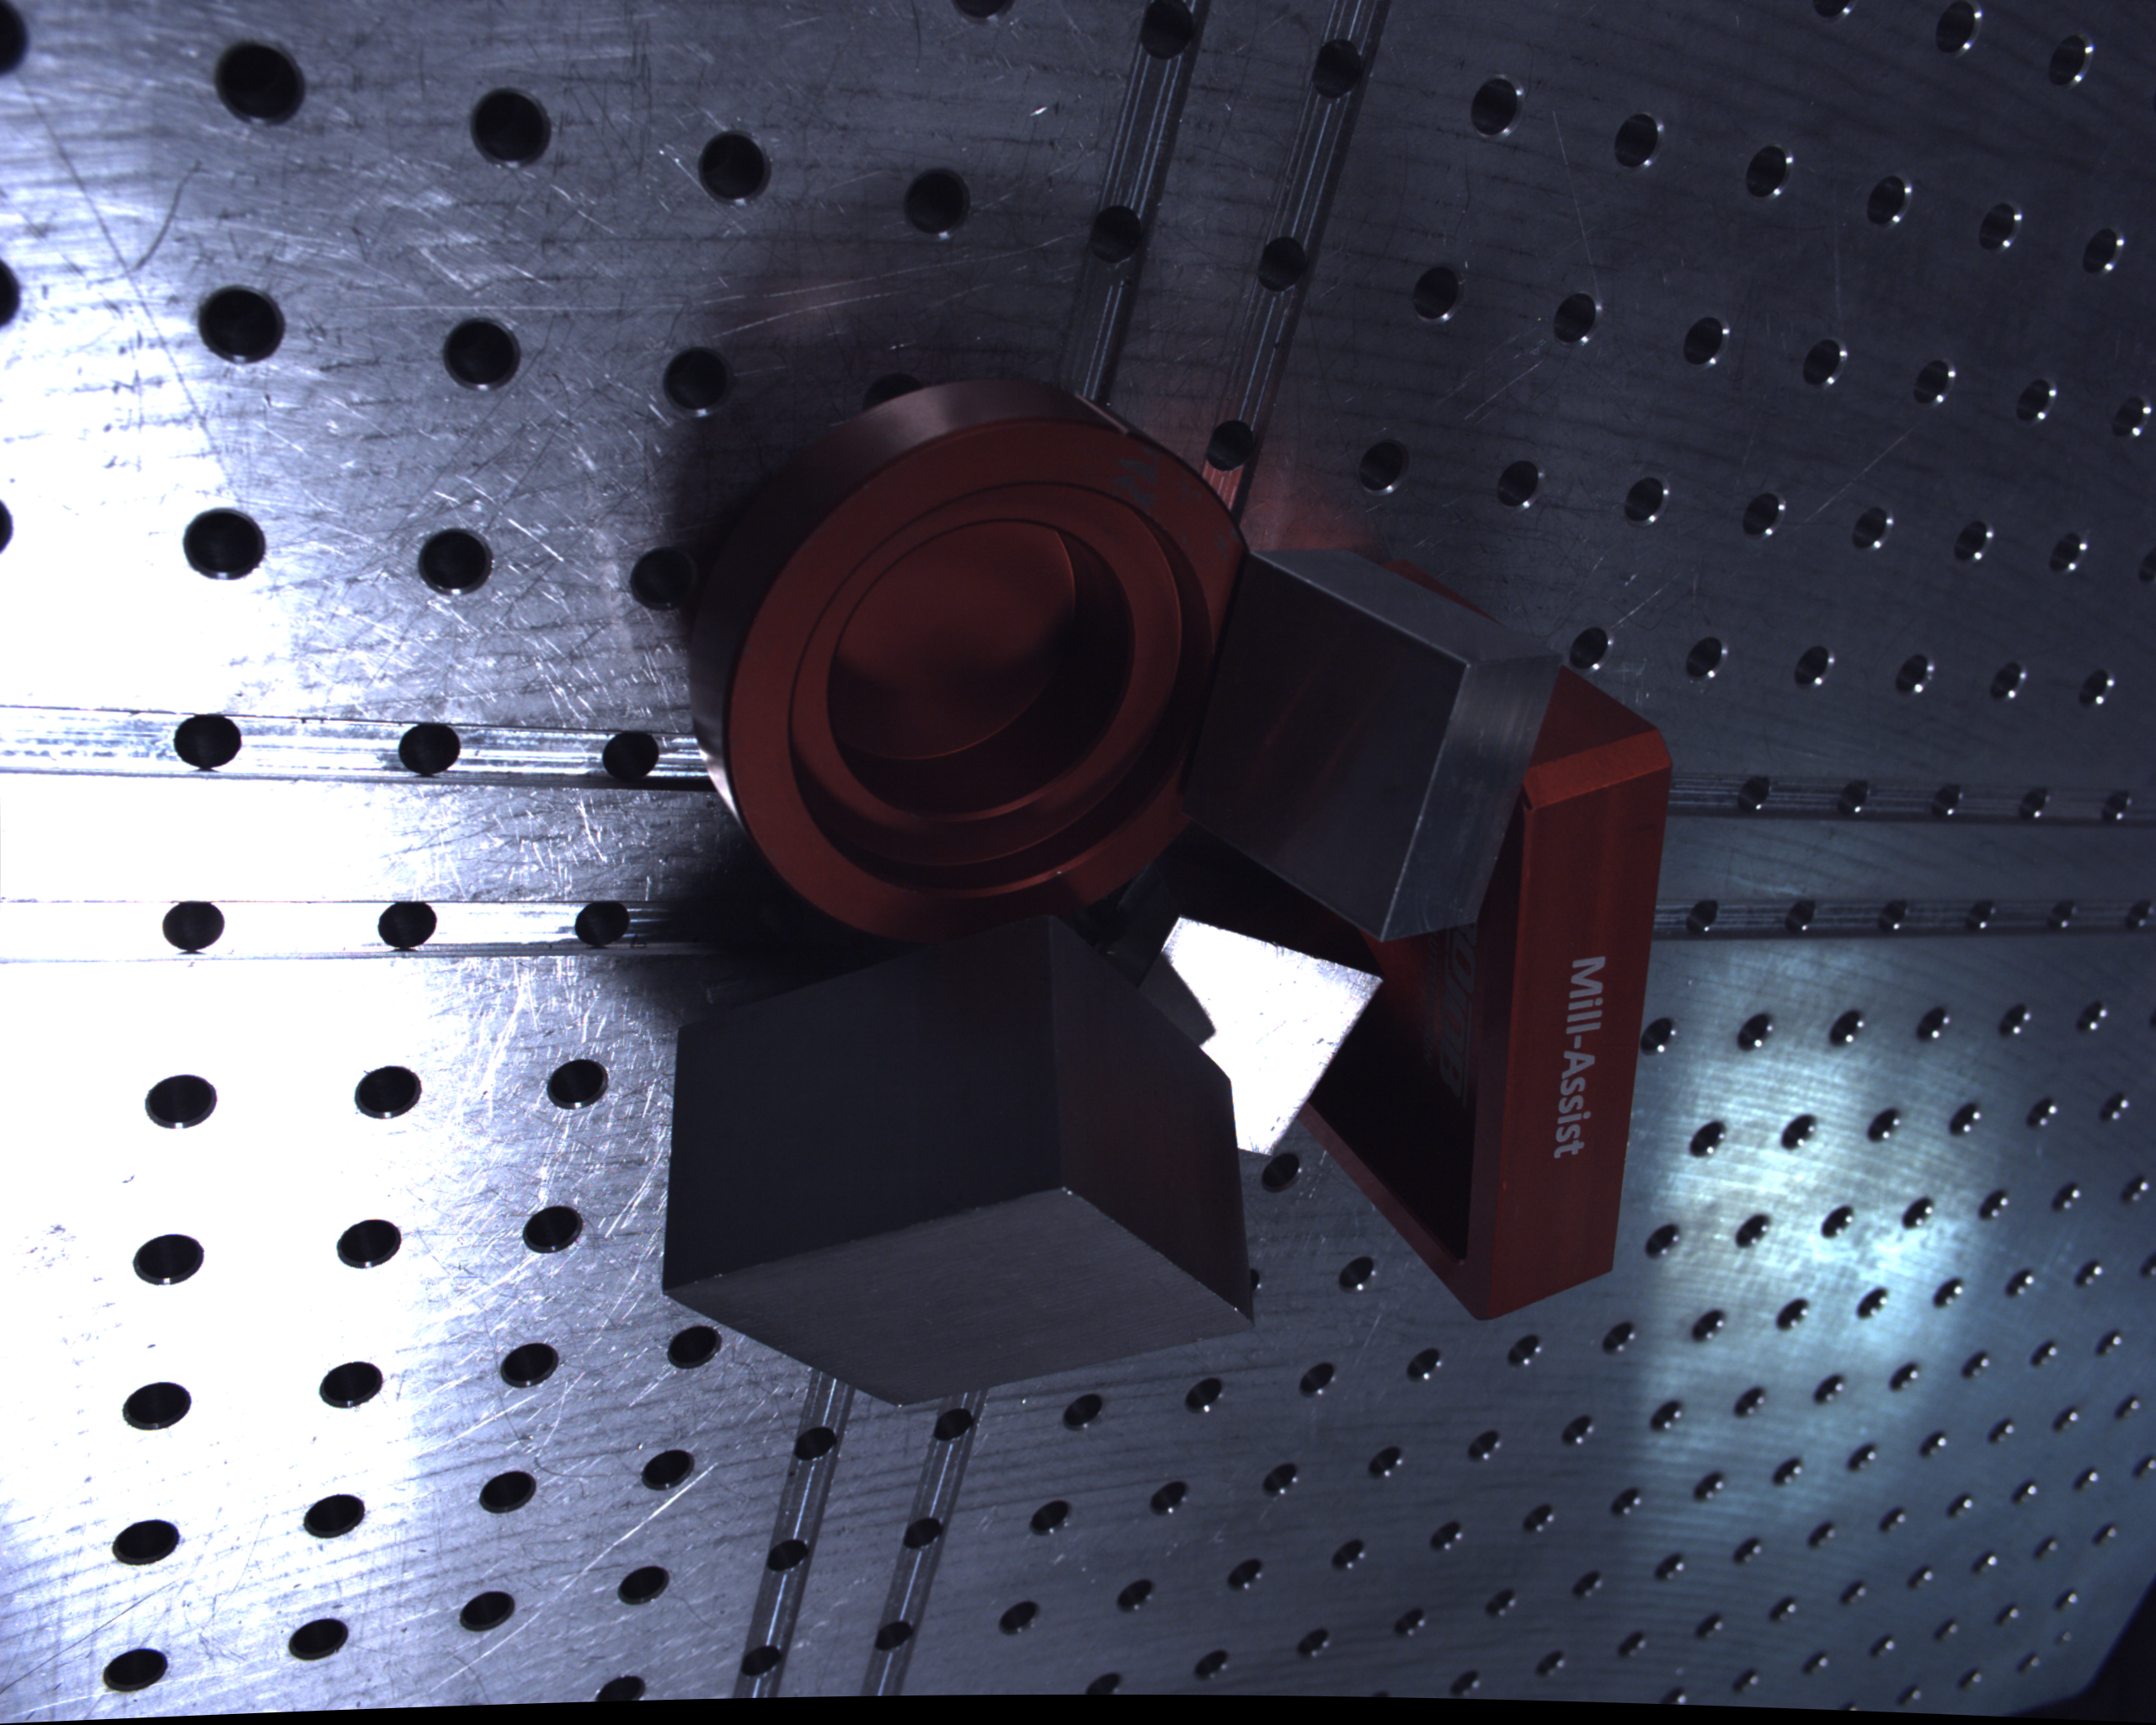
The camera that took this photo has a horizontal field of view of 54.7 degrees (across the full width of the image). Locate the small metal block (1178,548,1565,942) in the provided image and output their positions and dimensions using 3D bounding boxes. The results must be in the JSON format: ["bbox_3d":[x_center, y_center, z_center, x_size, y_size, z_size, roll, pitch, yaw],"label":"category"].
[{"bbox_3d":[0.049,-0.021,0.357,0.025,0.050,0.050,-9,122,-41],"label":"small metal block"}]

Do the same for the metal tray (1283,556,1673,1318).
[{"bbox_3d":[0.073,0.015,0.420,0.030,0.090,0.129,-17,125,-19],"label":"metal tray"}]

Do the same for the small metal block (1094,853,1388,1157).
[{"bbox_3d":[0.029,0.030,0.441,0.050,0.025,0.050,17,114,-24],"label":"small metal block"}]

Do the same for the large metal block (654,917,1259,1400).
[{"bbox_3d":[-0.021,0.059,0.392,0.080,0.050,0.080,-17,146,21],"label":"large metal block"}]

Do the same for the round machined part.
[{"bbox_3d":[-0.021,-0.038,0.366,0.099,0.042,0.097,-14,125,-21],"label":"round machined part"}]
